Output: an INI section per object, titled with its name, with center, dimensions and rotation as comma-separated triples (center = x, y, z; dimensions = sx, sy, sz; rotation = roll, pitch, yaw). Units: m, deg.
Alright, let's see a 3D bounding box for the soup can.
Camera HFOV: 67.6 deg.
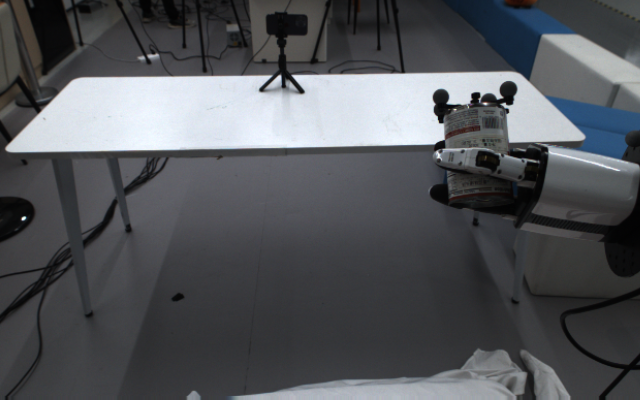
[soup can]
center = 0.172, -0.046, 0.524
dimensions = 0.067, 0.101, 0.067
rotation = -1, -9, 0
